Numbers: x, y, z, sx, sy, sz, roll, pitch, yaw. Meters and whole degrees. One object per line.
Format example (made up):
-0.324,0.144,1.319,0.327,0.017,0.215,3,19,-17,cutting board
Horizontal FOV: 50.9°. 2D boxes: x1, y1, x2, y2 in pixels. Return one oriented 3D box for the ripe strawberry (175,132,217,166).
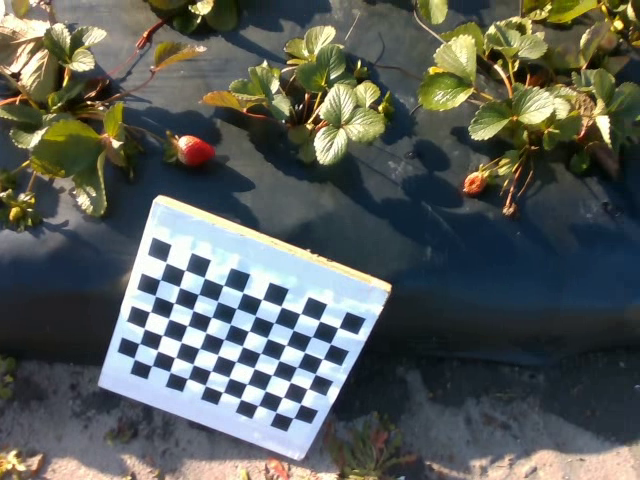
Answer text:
-0.161,-0.118,0.860,0.063,0.044,0.043,5,22,4,ripe strawberry
